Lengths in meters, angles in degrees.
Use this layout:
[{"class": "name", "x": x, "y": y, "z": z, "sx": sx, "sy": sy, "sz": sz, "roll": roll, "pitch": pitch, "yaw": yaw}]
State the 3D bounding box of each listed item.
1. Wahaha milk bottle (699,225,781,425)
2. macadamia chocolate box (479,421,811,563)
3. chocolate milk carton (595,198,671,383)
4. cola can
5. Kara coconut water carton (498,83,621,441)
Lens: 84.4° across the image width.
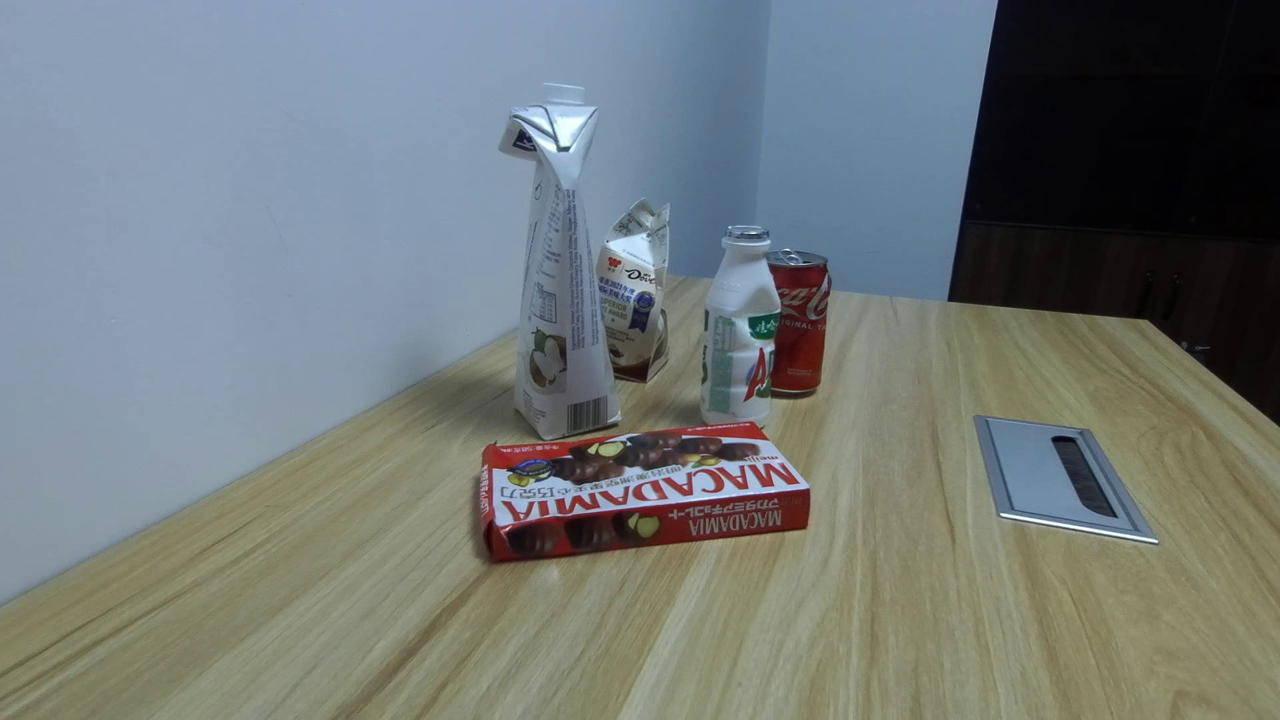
[{"class": "Wahaha milk bottle", "x": 0.073, "y": -0.022, "z": 0.510, "sx": 0.056, "sy": 0.147, "sz": 0.056, "roll": 3, "pitch": 19, "yaw": -1}, {"class": "macadamia chocolate box", "x": -0.002, "y": 0.073, "z": 0.421, "sx": 0.183, "sy": 0.028, "sz": 0.105, "roll": -4, "pitch": 19, "yaw": -11}, {"class": "chocolate milk carton", "x": -0.007, "y": -0.062, "z": 0.633, "sx": 0.076, "sy": 0.155, "sz": 0.089, "roll": 10, "pitch": 5, "yaw": 12}, {"class": "cola can", "x": 0.124, "y": -0.032, "z": 0.597, "sx": 0.066, "sy": 0.117, "sz": 0.066, "roll": 5, "pitch": 21, "yaw": 13}, {"class": "Kara coconut water carton", "x": -0.057, "y": -0.069, "z": 0.500, "sx": 0.069, "sy": 0.238, "sz": 0.114, "roll": -10, "pitch": 20, "yaw": -24}]
